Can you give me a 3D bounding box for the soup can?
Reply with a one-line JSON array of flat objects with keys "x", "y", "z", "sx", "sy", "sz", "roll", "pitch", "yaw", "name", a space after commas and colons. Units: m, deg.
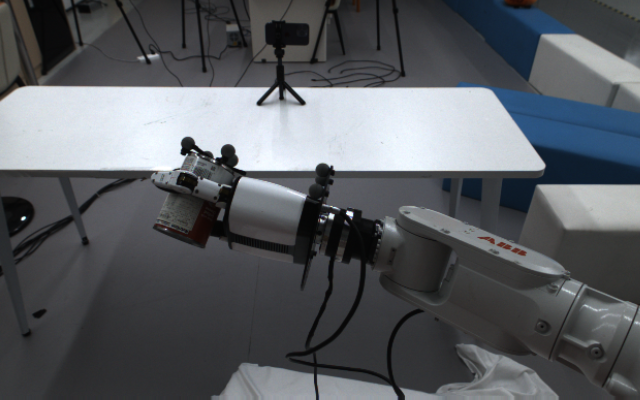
[{"x": -0.155, "y": 0.003, "z": 0.603, "sx": 0.067, "sy": 0.067, "sz": 0.101, "roll": 16, "pitch": 76, "yaw": 19, "name": "soup can"}]
